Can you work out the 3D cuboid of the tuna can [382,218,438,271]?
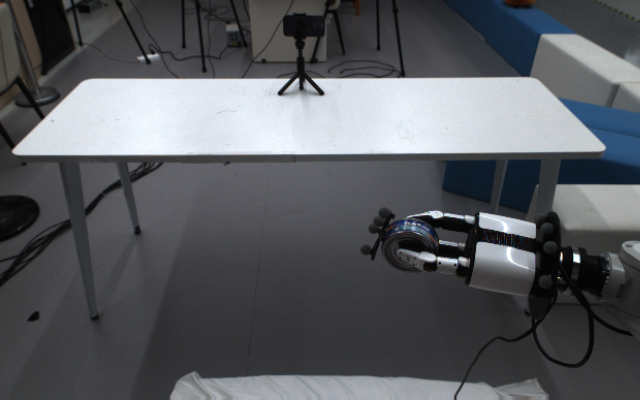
[{"bbox_3d":[0.141,0.068,0.747,0.085,0.085,0.034,8,35,9],"label":"tuna can"}]
